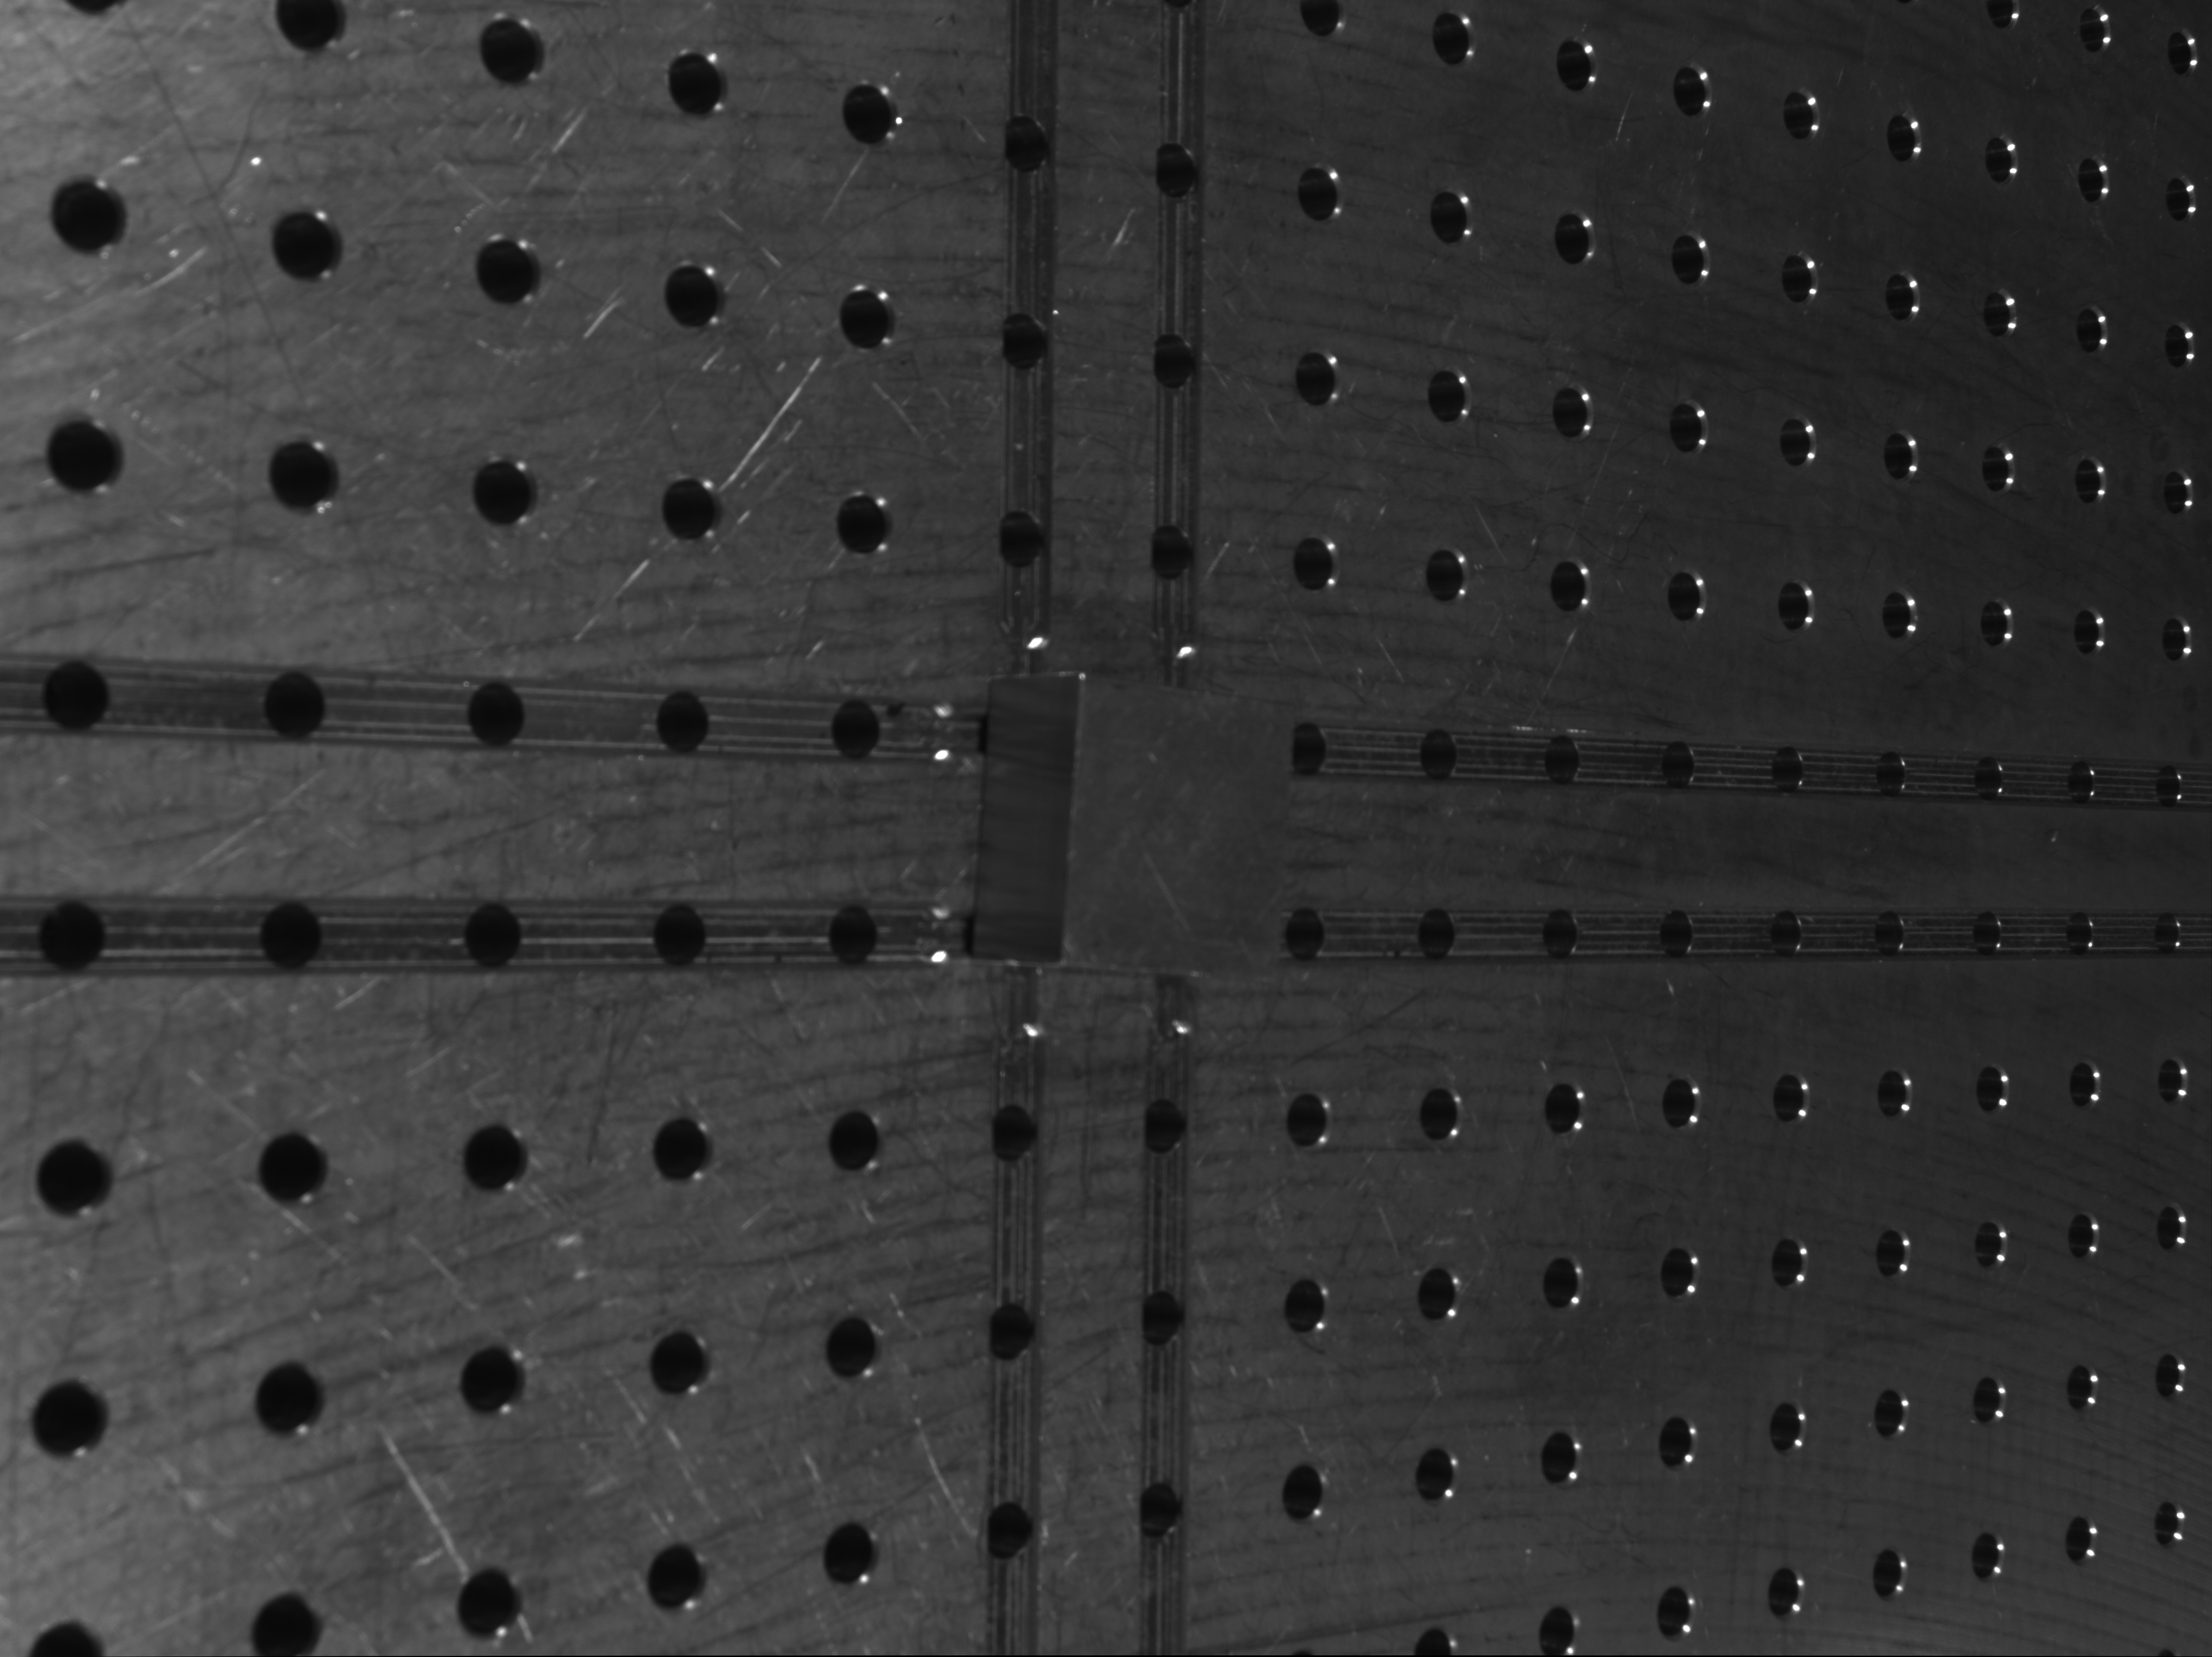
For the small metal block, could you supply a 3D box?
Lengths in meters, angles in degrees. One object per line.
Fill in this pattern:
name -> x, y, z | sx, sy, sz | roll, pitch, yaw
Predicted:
small metal block -> 0.007, 0.001, 0.646 | 0.050, 0.025, 0.050 | 7, 86, -40
